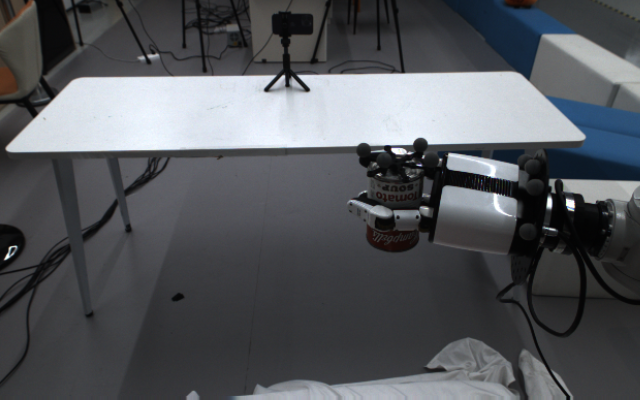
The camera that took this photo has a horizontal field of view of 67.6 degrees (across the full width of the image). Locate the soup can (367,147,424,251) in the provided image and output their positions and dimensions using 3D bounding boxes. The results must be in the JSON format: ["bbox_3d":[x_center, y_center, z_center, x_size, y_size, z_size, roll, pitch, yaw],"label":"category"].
[{"bbox_3d":[0.093,0.003,0.592,0.067,0.101,0.067,-2,33,1],"label":"soup can"}]
